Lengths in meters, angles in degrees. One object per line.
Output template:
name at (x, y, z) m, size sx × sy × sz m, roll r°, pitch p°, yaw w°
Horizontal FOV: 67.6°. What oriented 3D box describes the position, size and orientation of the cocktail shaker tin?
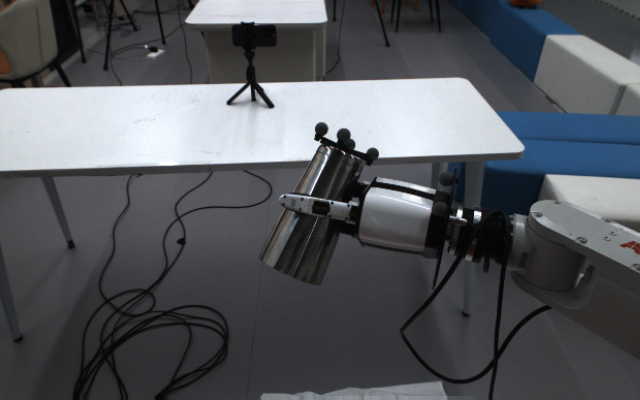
cocktail shaker tin at (-0.004, 0.014, 0.646) m, size 0.093 × 0.170 × 0.093 m, roll 23°, pitch 0°, yaw 0°
